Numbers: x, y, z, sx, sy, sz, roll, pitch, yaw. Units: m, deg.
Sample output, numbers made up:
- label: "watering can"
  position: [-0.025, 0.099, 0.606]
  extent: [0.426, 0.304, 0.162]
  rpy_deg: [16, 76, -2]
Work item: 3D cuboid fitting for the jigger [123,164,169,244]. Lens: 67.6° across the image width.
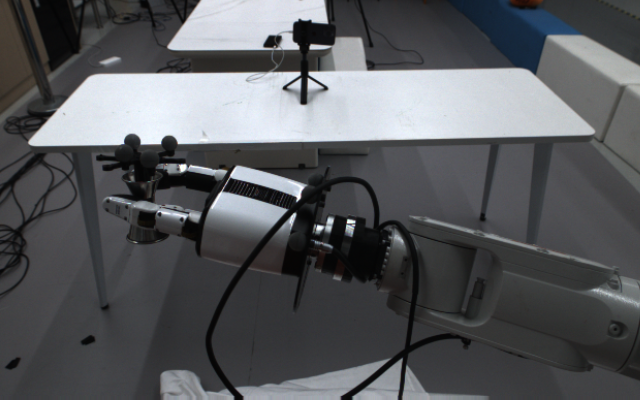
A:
- label: "jigger"
  position: [-0.183, 0.006, 0.515]
  extent: [0.043, 0.071, 0.043]
  rpy_deg: [2, 20, -1]
